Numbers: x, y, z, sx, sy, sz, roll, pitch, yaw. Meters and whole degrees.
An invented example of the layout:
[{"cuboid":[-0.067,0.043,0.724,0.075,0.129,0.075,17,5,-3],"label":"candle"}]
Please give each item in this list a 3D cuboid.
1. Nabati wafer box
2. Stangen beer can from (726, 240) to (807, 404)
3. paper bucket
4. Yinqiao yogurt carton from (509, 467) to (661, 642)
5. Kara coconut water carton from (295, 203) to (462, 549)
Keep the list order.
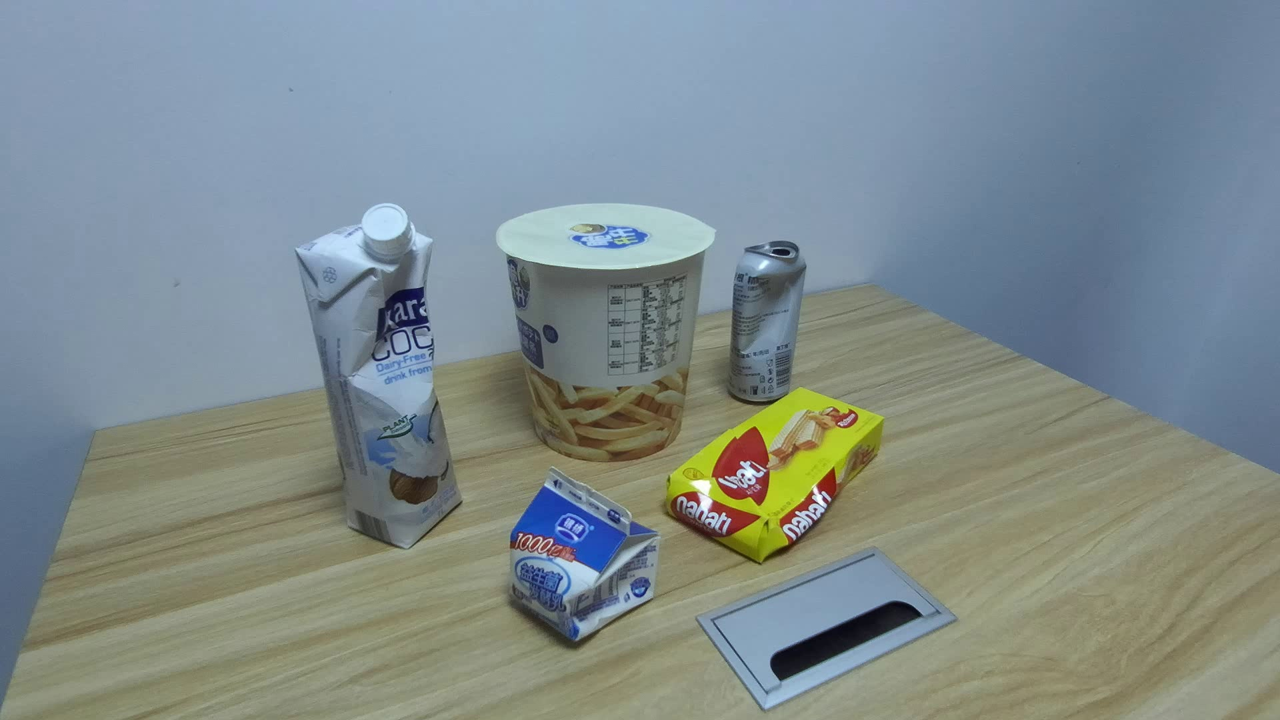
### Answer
[{"cuboid":[0.123,0.091,0.604,0.106,0.042,0.205,23,35,39],"label":"Nabati wafer box"},{"cuboid":[0.128,-0.038,0.718,0.065,0.162,0.077,8,28,13],"label":"Stangen beer can"},{"cuboid":[-0.031,-0.026,0.659,0.198,0.195,0.198,1,28,0],"label":"paper bucket"},{"cuboid":[-0.038,0.126,0.471,0.074,0.097,0.080,20,26,33],"label":"Yinqiao yogurt carton"},{"cuboid":[-0.186,0.013,0.514,0.078,0.255,0.083,21,33,32],"label":"Kara coconut water carton"}]
